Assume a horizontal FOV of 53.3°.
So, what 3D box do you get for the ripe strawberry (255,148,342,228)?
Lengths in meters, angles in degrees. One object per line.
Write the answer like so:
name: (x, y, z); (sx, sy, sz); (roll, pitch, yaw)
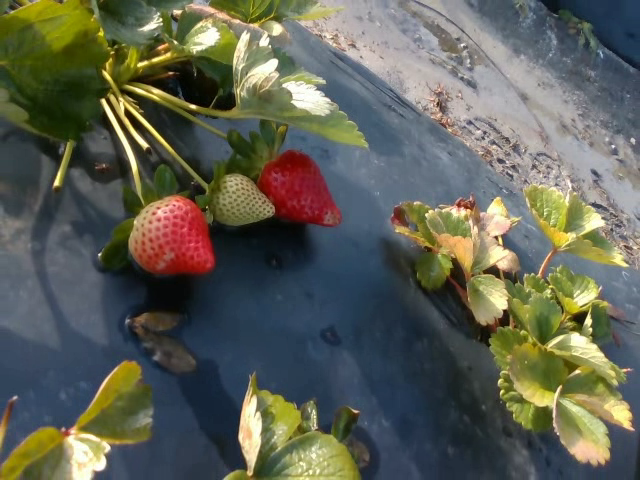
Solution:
ripe strawberry: (-0.009, -0.027, 0.377); (0.048, 0.065, 0.050); (-43, 1, -6)
